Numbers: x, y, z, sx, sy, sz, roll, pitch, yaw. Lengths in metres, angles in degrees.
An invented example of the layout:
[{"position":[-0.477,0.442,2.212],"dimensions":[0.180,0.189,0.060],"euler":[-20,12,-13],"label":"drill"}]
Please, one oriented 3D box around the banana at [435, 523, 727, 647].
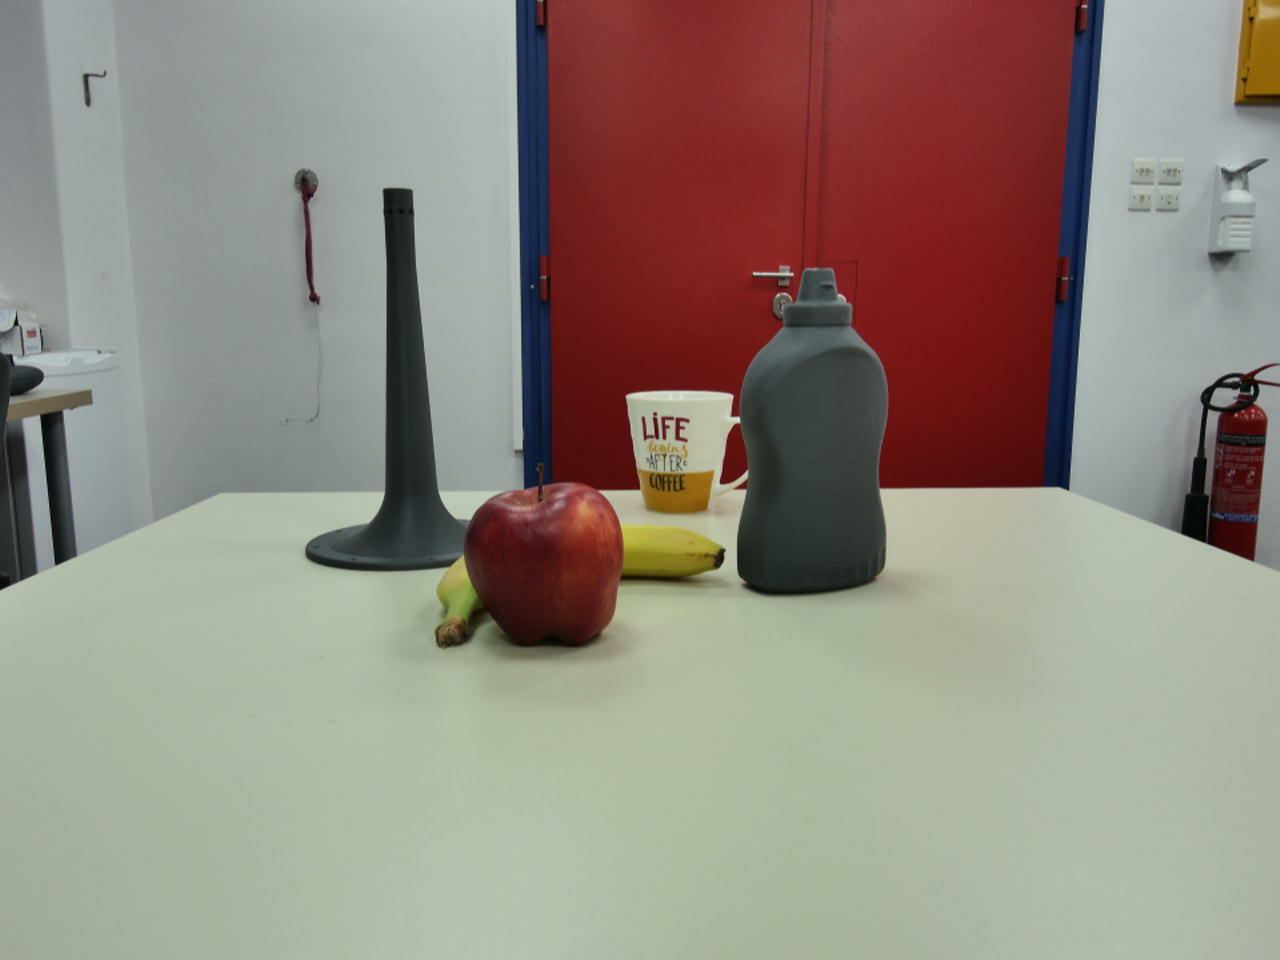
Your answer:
[{"position":[-0.049,0.053,0.596],"dimensions":[0.196,0.041,0.094],"euler":[-6,9,-36],"label":"banana"}]
